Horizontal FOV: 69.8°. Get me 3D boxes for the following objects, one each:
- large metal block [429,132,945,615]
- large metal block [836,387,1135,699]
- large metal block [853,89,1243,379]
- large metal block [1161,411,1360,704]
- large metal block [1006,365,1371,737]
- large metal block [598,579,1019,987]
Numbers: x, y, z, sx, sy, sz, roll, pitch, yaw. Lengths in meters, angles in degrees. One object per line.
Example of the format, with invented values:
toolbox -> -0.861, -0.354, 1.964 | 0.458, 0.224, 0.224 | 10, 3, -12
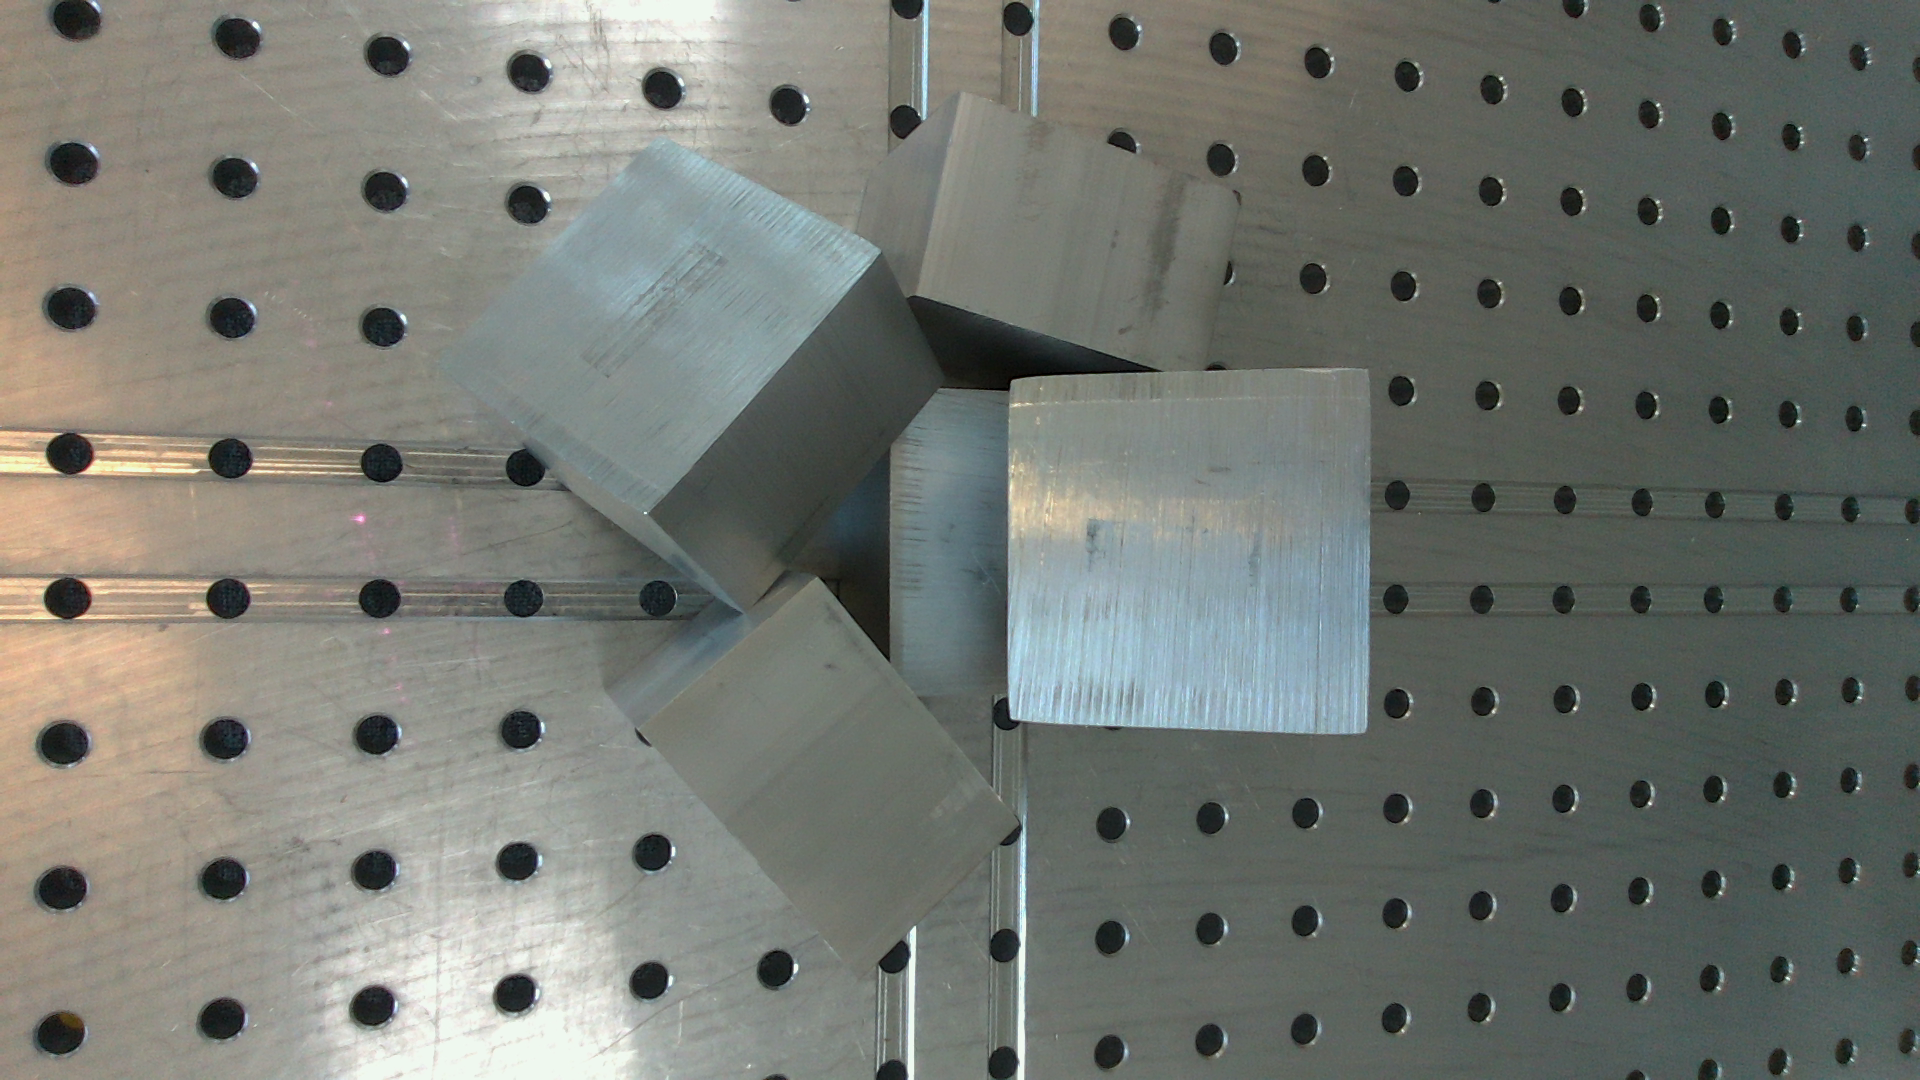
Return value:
large metal block -> -0.065, -0.042, 0.336 | 0.080, 0.080, 0.050 | -51, 150, -13
large metal block -> 0.010, 0.001, 0.386 | 0.080, 0.050, 0.080 | 1, 90, -20
large metal block -> 0.017, -0.073, 0.373 | 0.080, 0.080, 0.050 | 14, 85, -19
large metal block -> 0.088, 0.002, 0.390 | 0.050, 0.080, 0.080 | 0, 90, 18
large metal block -> 0.056, 0.003, 0.329 | 0.080, 0.050, 0.080 | 0, 89, 14
large metal block -> -0.042, 0.056, 0.350 | 0.050, 0.080, 0.080 | -42, 104, -16
